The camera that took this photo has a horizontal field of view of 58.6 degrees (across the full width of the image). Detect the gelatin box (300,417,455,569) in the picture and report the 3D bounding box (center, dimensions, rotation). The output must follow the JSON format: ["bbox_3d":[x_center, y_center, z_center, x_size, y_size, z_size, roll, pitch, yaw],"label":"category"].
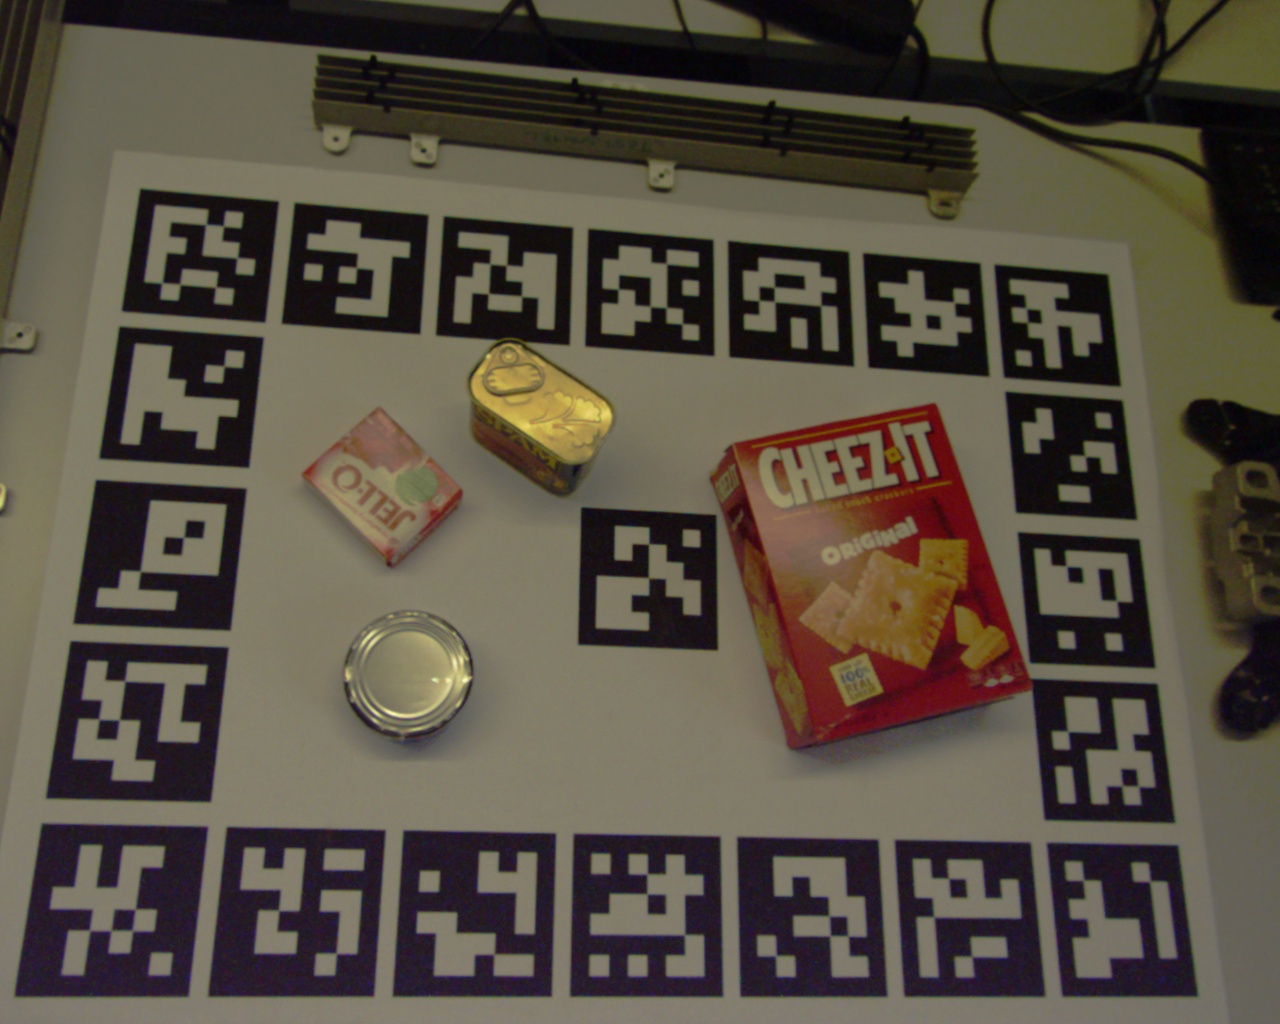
[{"bbox_3d":[-0.195,-0.015,0.850,0.089,0.030,0.073,43,68,3],"label":"gelatin box"}]

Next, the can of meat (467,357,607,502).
[{"bbox_3d":[-0.081,-0.059,0.862,0.102,0.084,0.057,32,70,2],"label":"can of meat"}]

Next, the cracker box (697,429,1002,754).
[{"bbox_3d":[0.156,0.056,0.867,0.163,0.072,0.214,-13,74,-15],"label":"cracker box"}]

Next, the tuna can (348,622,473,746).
[{"bbox_3d":[-0.162,0.122,0.806,0.085,0.034,0.086,2,75,-8],"label":"tuna can"}]
